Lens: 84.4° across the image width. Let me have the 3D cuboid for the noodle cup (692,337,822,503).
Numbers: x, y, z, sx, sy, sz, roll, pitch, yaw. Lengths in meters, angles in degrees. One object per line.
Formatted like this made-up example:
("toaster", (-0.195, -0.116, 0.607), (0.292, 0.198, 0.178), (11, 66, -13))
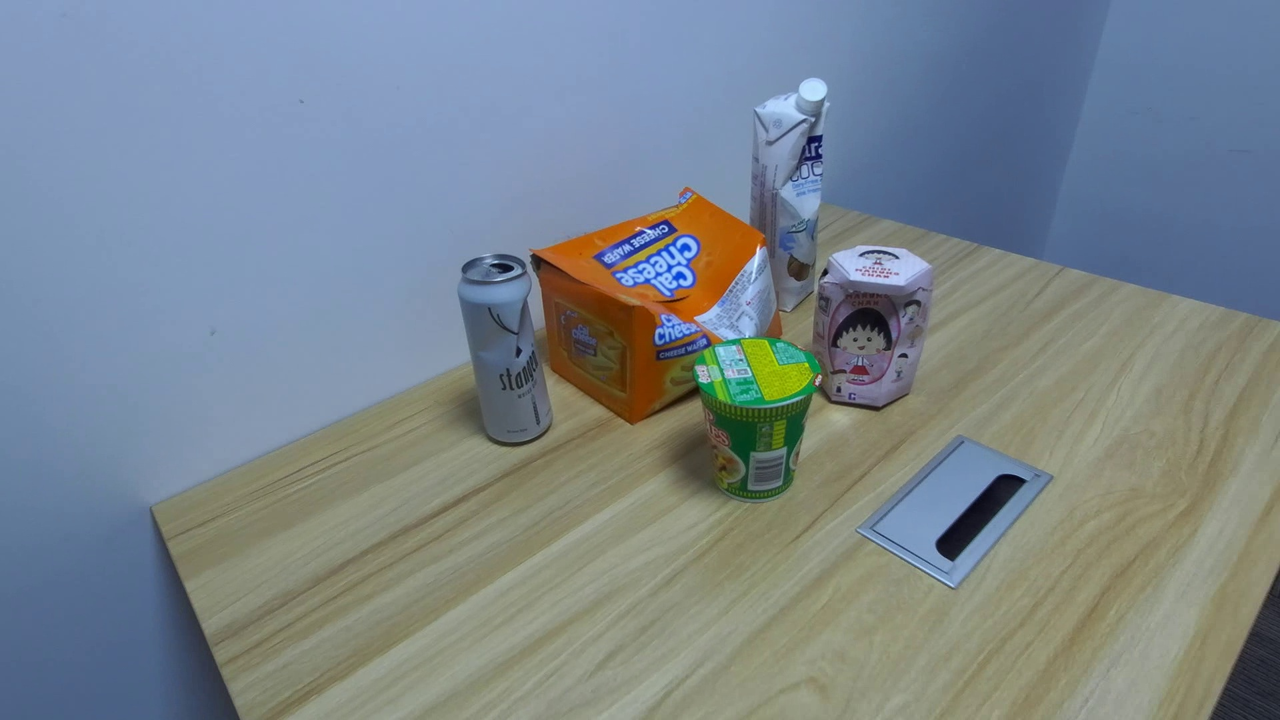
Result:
("noodle cup", (0.092, 0.052, 0.569), (0.097, 0.110, 0.097), (-3, 32, 2))

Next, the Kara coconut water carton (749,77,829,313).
("Kara coconut water carton", (0.165, -0.182, 0.796), (0.083, 0.256, 0.078), (-26, 40, -32))

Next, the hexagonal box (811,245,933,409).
("hexagonal box", (0.215, -0.032, 0.670), (0.090, 0.134, 0.090), (-18, 34, -26))

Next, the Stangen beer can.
("Stangen beer can", (-0.118, -0.009, 0.637), (0.070, 0.173, 0.069), (-28, 39, -34))

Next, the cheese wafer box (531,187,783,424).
("cheese wafer box", (0.033, -0.062, 0.726), (0.220, 0.145, 0.190), (-27, 39, -32))
